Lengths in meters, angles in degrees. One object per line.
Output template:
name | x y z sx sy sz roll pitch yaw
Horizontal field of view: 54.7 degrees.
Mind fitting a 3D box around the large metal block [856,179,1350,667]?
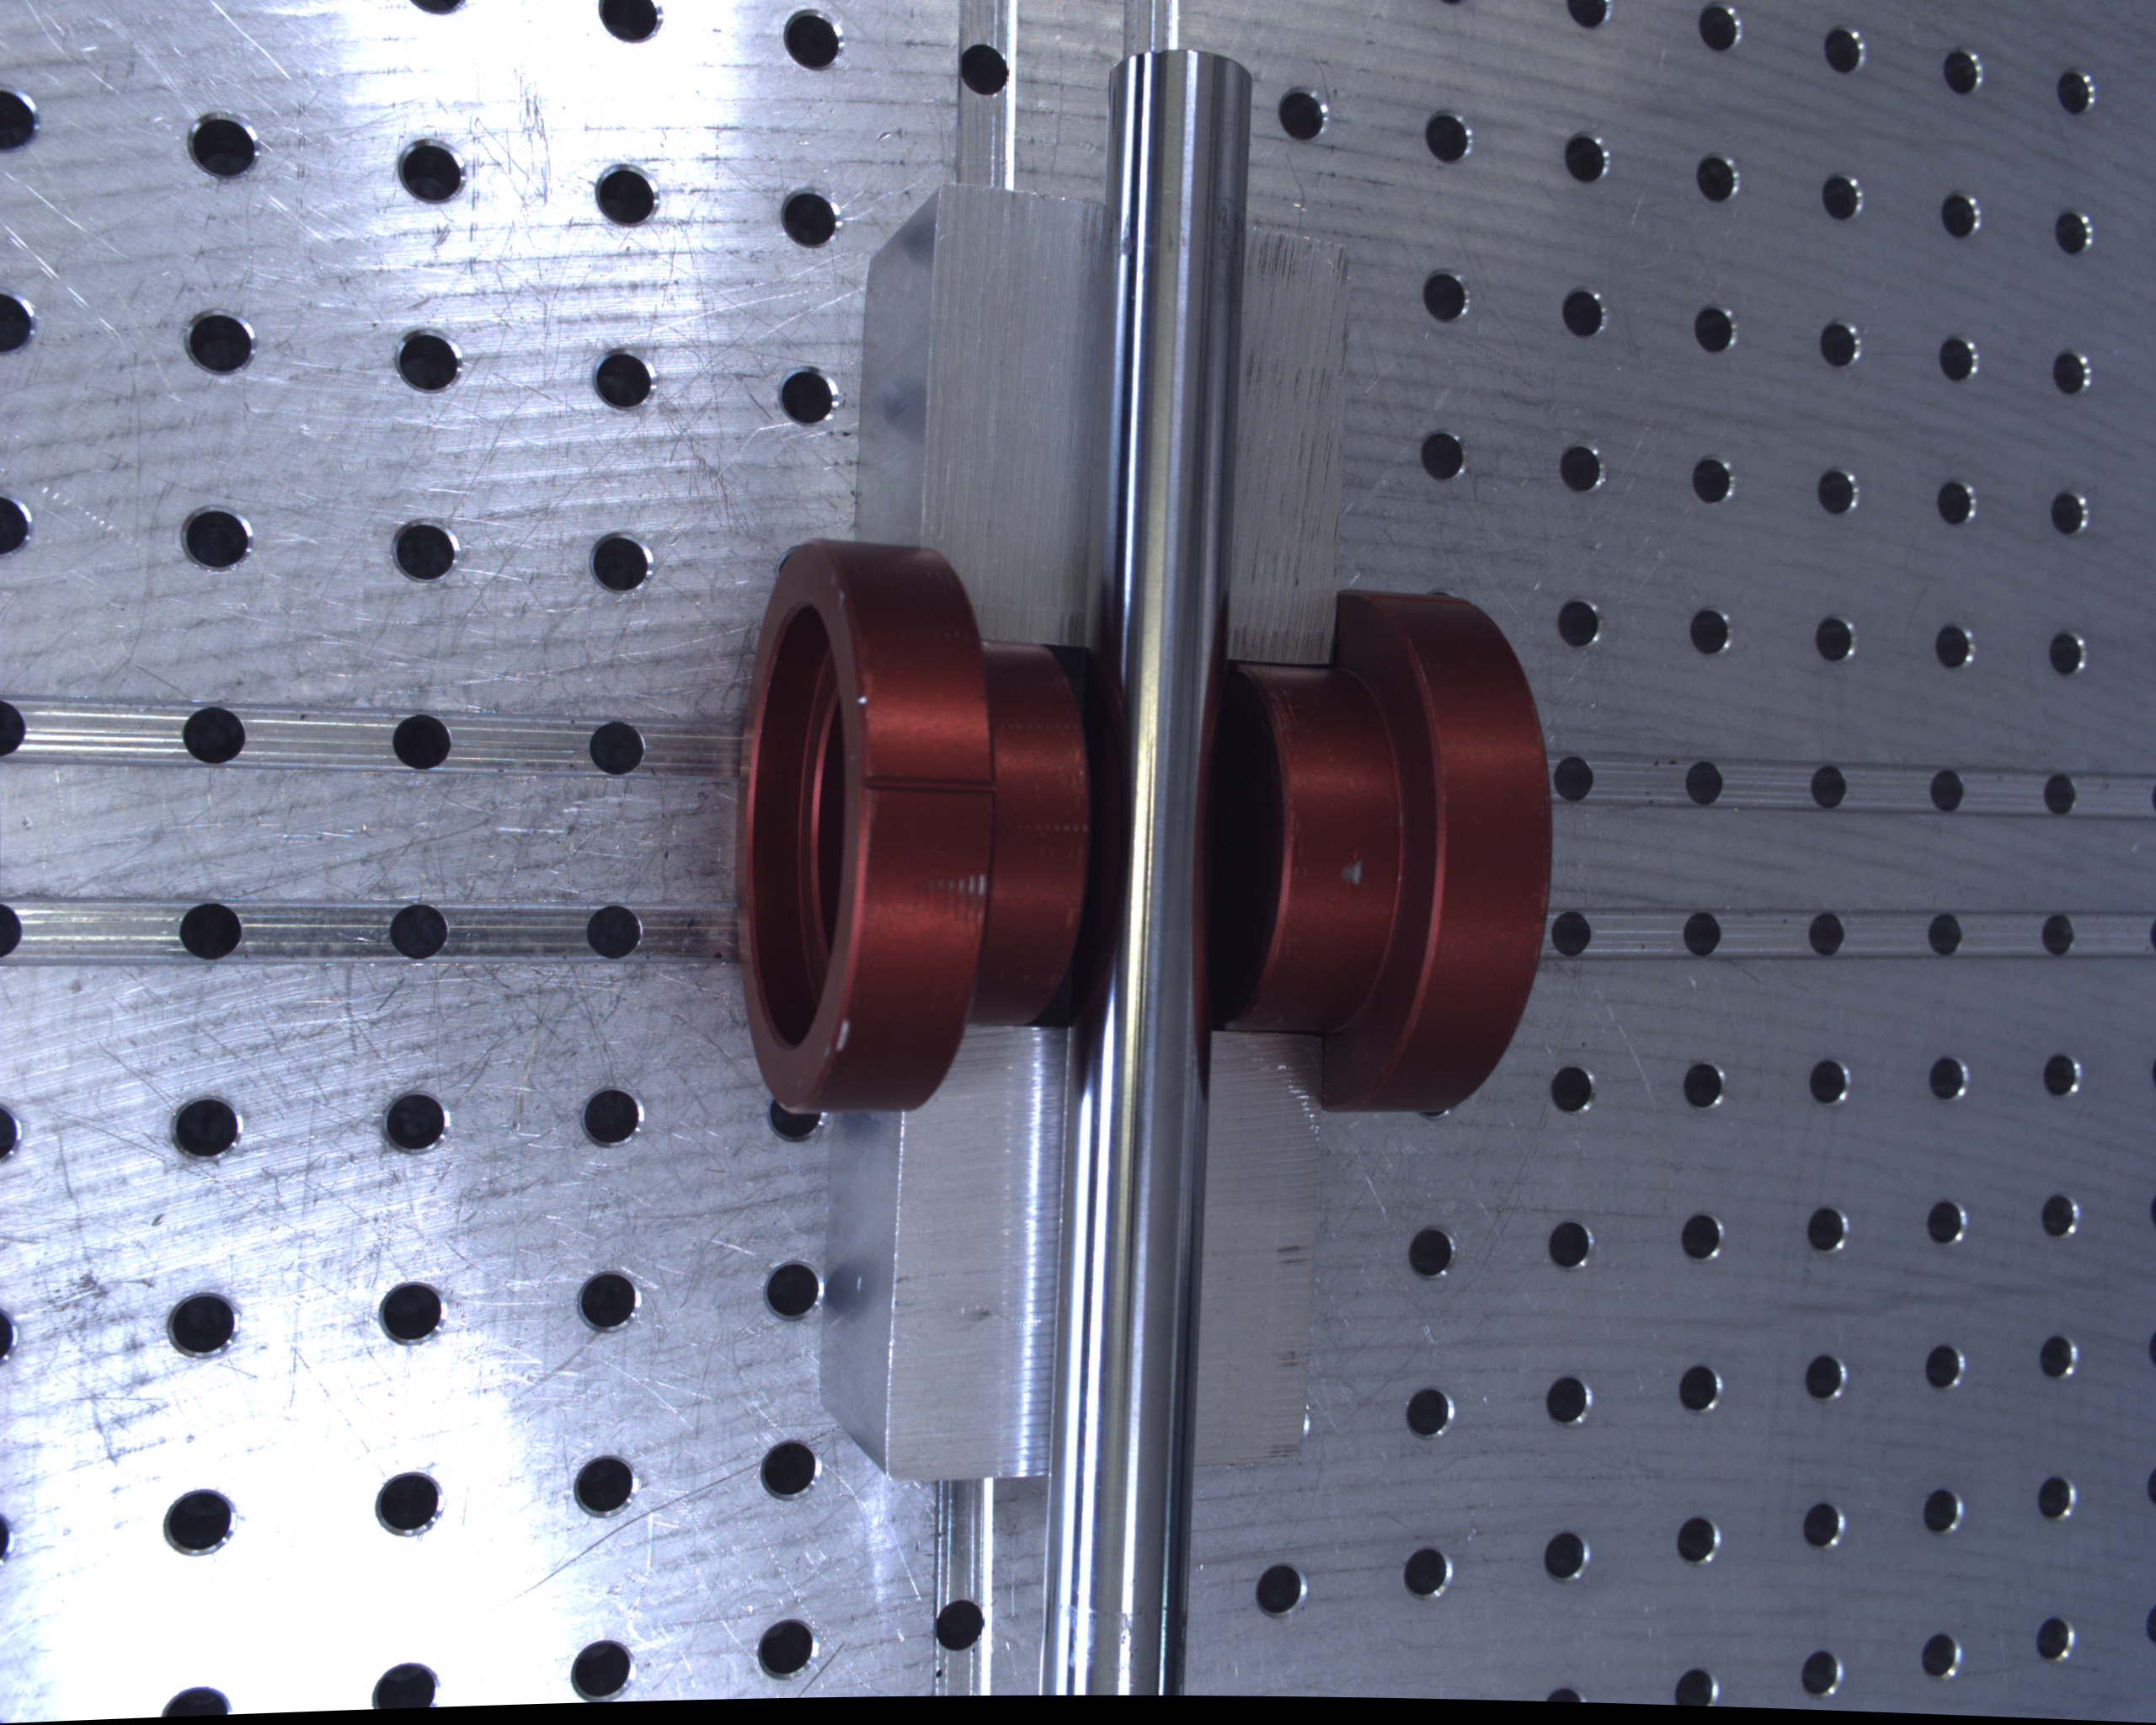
large metal block | 0.003 -0.078 0.400 0.081 0.050 0.080 2 89 -20

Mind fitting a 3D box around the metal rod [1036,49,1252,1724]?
metal rod | 0.011 0.011 0.363 0.025 0.025 0.298 3 89 -20

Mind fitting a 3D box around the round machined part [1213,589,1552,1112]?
round machined part | 0.047 -0.002 0.391 0.042 0.098 0.097 2 90 -15

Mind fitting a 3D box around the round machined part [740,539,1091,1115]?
round machined part | -0.029 -0.005 0.362 0.042 0.098 0.097 2 90 -20

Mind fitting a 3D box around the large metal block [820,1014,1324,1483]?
large metal block | -0.002 0.069 0.398 0.081 0.050 0.080 3 89 -20
